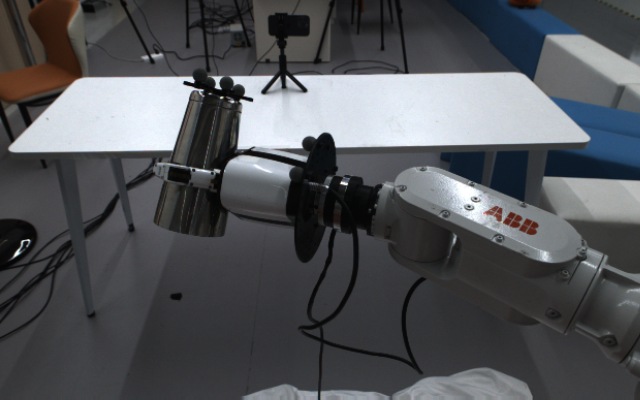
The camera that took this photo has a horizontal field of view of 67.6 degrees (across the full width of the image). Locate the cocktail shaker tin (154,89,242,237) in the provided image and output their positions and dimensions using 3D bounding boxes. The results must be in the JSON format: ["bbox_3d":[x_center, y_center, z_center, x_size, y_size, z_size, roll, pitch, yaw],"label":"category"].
[{"bbox_3d":[-0.149,-0.046,0.619,0.093,0.170,0.093,13,5,-1],"label":"cocktail shaker tin"}]
